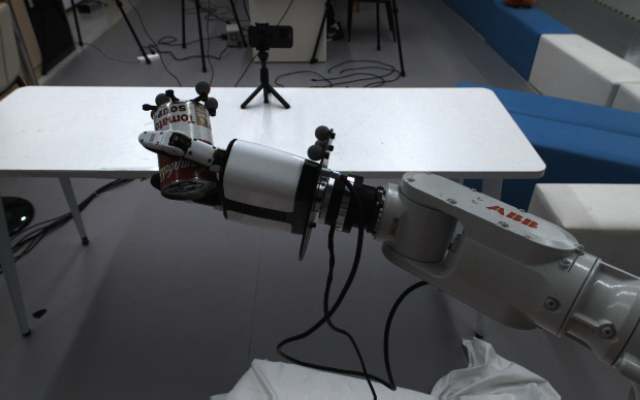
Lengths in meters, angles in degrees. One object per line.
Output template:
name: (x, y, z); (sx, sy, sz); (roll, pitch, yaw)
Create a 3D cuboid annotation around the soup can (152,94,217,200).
soup can: (-0.159, -0.057, 0.577); (0.067, 0.067, 0.101); (-8, 74, -14)
